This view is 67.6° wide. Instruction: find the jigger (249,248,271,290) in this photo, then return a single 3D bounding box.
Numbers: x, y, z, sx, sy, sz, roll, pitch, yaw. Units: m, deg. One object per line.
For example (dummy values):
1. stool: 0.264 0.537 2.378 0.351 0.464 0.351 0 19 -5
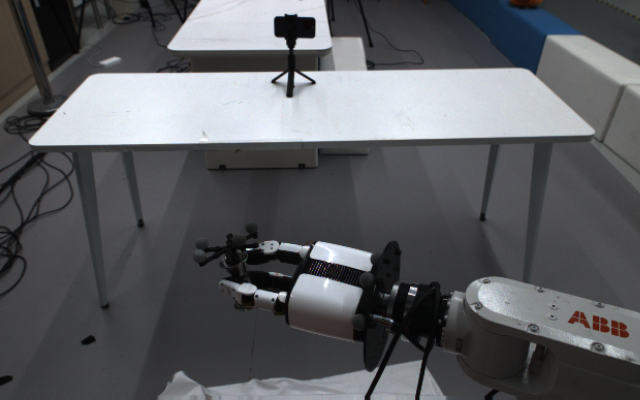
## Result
1. jigger: -0.104 0.109 0.652 0.043 0.071 0.043 -14 21 6
